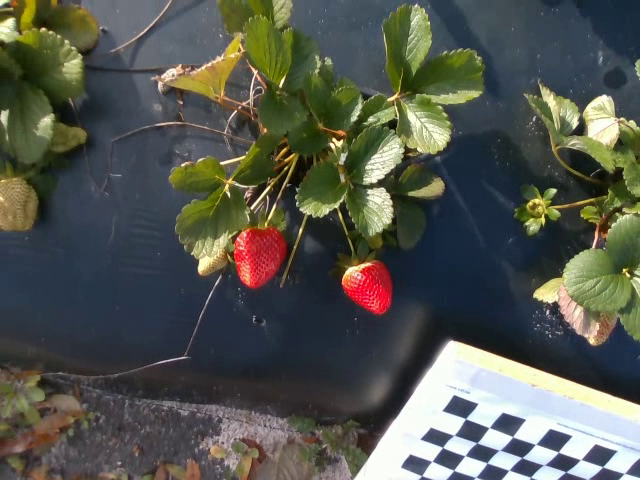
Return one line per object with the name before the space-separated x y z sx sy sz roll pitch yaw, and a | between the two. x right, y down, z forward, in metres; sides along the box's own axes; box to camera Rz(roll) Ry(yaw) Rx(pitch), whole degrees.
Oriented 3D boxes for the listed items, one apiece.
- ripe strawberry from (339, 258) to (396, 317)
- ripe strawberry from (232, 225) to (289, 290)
ripe strawberry | 0.030 0.030 0.329 0.033 0.039 0.038 15 -42 -26
ripe strawberry | -0.037 0.011 0.322 0.035 0.036 0.041 9 -30 7
